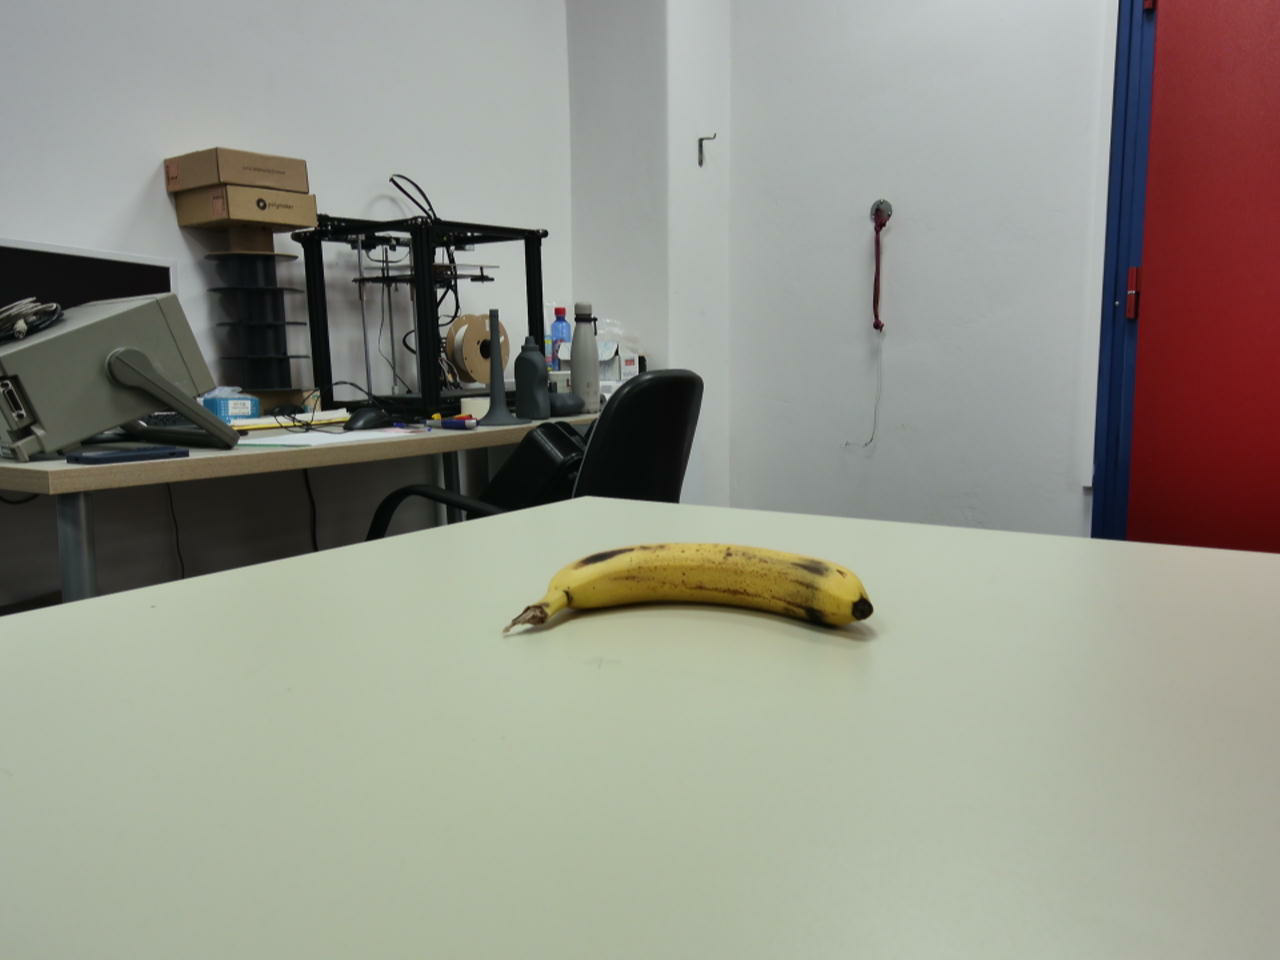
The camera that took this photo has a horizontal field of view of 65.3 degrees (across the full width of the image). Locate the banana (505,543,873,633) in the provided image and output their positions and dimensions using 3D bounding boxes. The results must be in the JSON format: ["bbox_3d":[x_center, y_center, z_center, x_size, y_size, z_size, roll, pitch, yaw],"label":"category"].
[{"bbox_3d":[0.032,0.059,0.562,0.186,0.038,0.097,1,5,8],"label":"banana"}]
